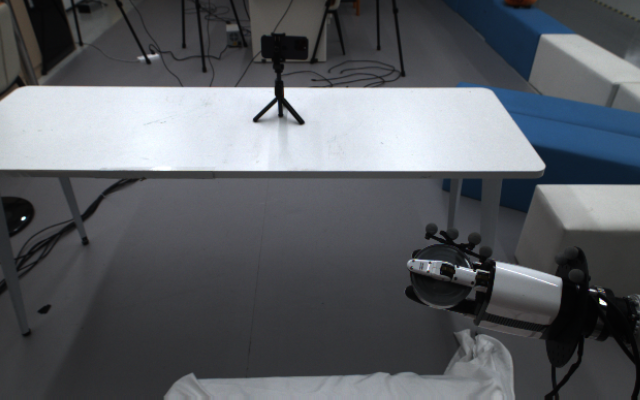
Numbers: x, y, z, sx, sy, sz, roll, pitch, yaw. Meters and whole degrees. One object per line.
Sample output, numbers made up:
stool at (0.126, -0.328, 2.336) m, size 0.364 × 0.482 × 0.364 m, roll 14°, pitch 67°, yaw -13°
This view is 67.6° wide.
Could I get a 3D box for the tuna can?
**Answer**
tuna can at (0.170, 0.104, 0.669) m, size 0.085 × 0.034 × 0.085 m, roll -4°, pitch 66°, yaw 10°
